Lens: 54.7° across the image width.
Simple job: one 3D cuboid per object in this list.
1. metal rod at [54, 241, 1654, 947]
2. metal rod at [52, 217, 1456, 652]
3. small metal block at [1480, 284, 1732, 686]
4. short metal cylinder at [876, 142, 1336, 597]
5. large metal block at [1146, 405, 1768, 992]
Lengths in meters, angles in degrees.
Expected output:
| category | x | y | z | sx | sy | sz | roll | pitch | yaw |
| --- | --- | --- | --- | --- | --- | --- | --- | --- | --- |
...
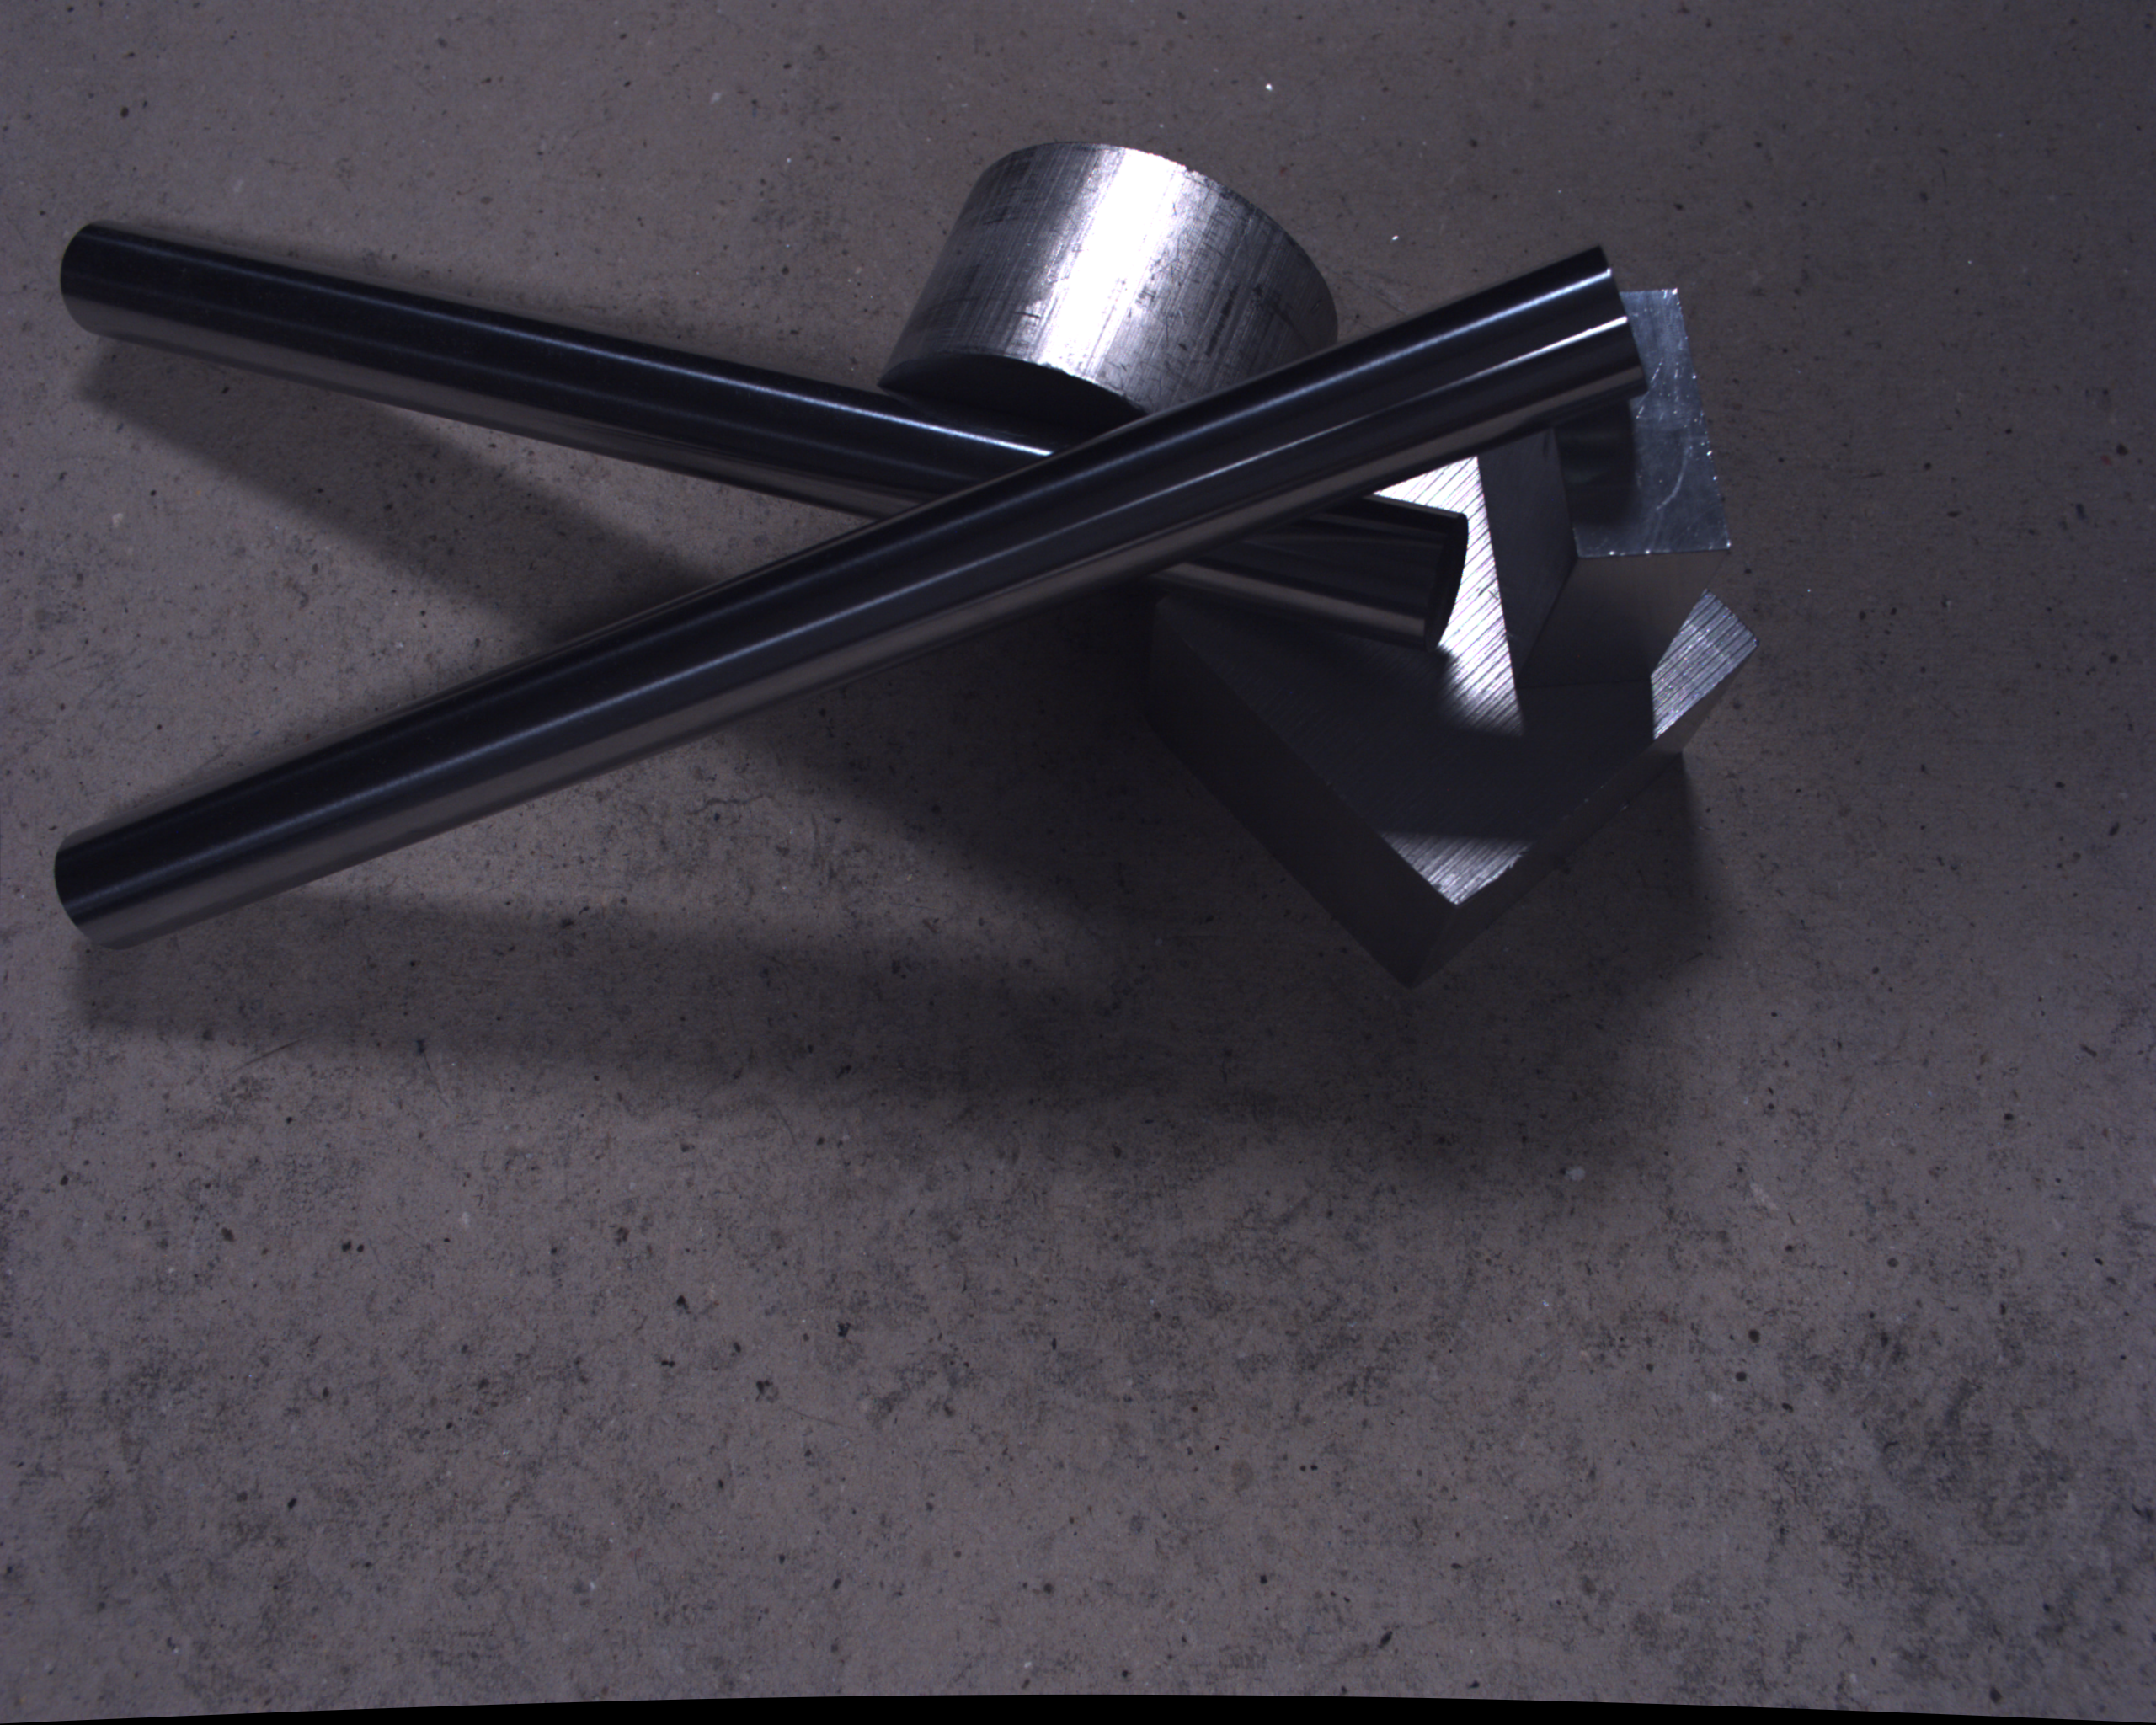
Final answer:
| category | x | y | z | sx | sy | sz | roll | pitch | yaw |
| --- | --- | --- | --- | --- | --- | --- | --- | --- | --- |
| metal rod | -0.051 | -0.041 | 0.367 | 0.301 | 0.025 | 0.025 | -18 | 70 | 15 |
| metal rod | -0.076 | -0.089 | 0.410 | 0.301 | 0.025 | 0.025 | 16 | 70 | 17 |
| small metal block | 0.090 | -0.065 | 0.365 | 0.025 | 0.050 | 0.050 | -4 | 70 | -1 |
| short metal cylinder | 0.005 | -0.096 | 0.417 | 0.080 | 0.080 | 0.050 | 20 | 71 | 6 |
| large metal block | 0.070 | -0.035 | 0.408 | 0.080 | 0.050 | 0.080 | -40 | 75 | -12 |
